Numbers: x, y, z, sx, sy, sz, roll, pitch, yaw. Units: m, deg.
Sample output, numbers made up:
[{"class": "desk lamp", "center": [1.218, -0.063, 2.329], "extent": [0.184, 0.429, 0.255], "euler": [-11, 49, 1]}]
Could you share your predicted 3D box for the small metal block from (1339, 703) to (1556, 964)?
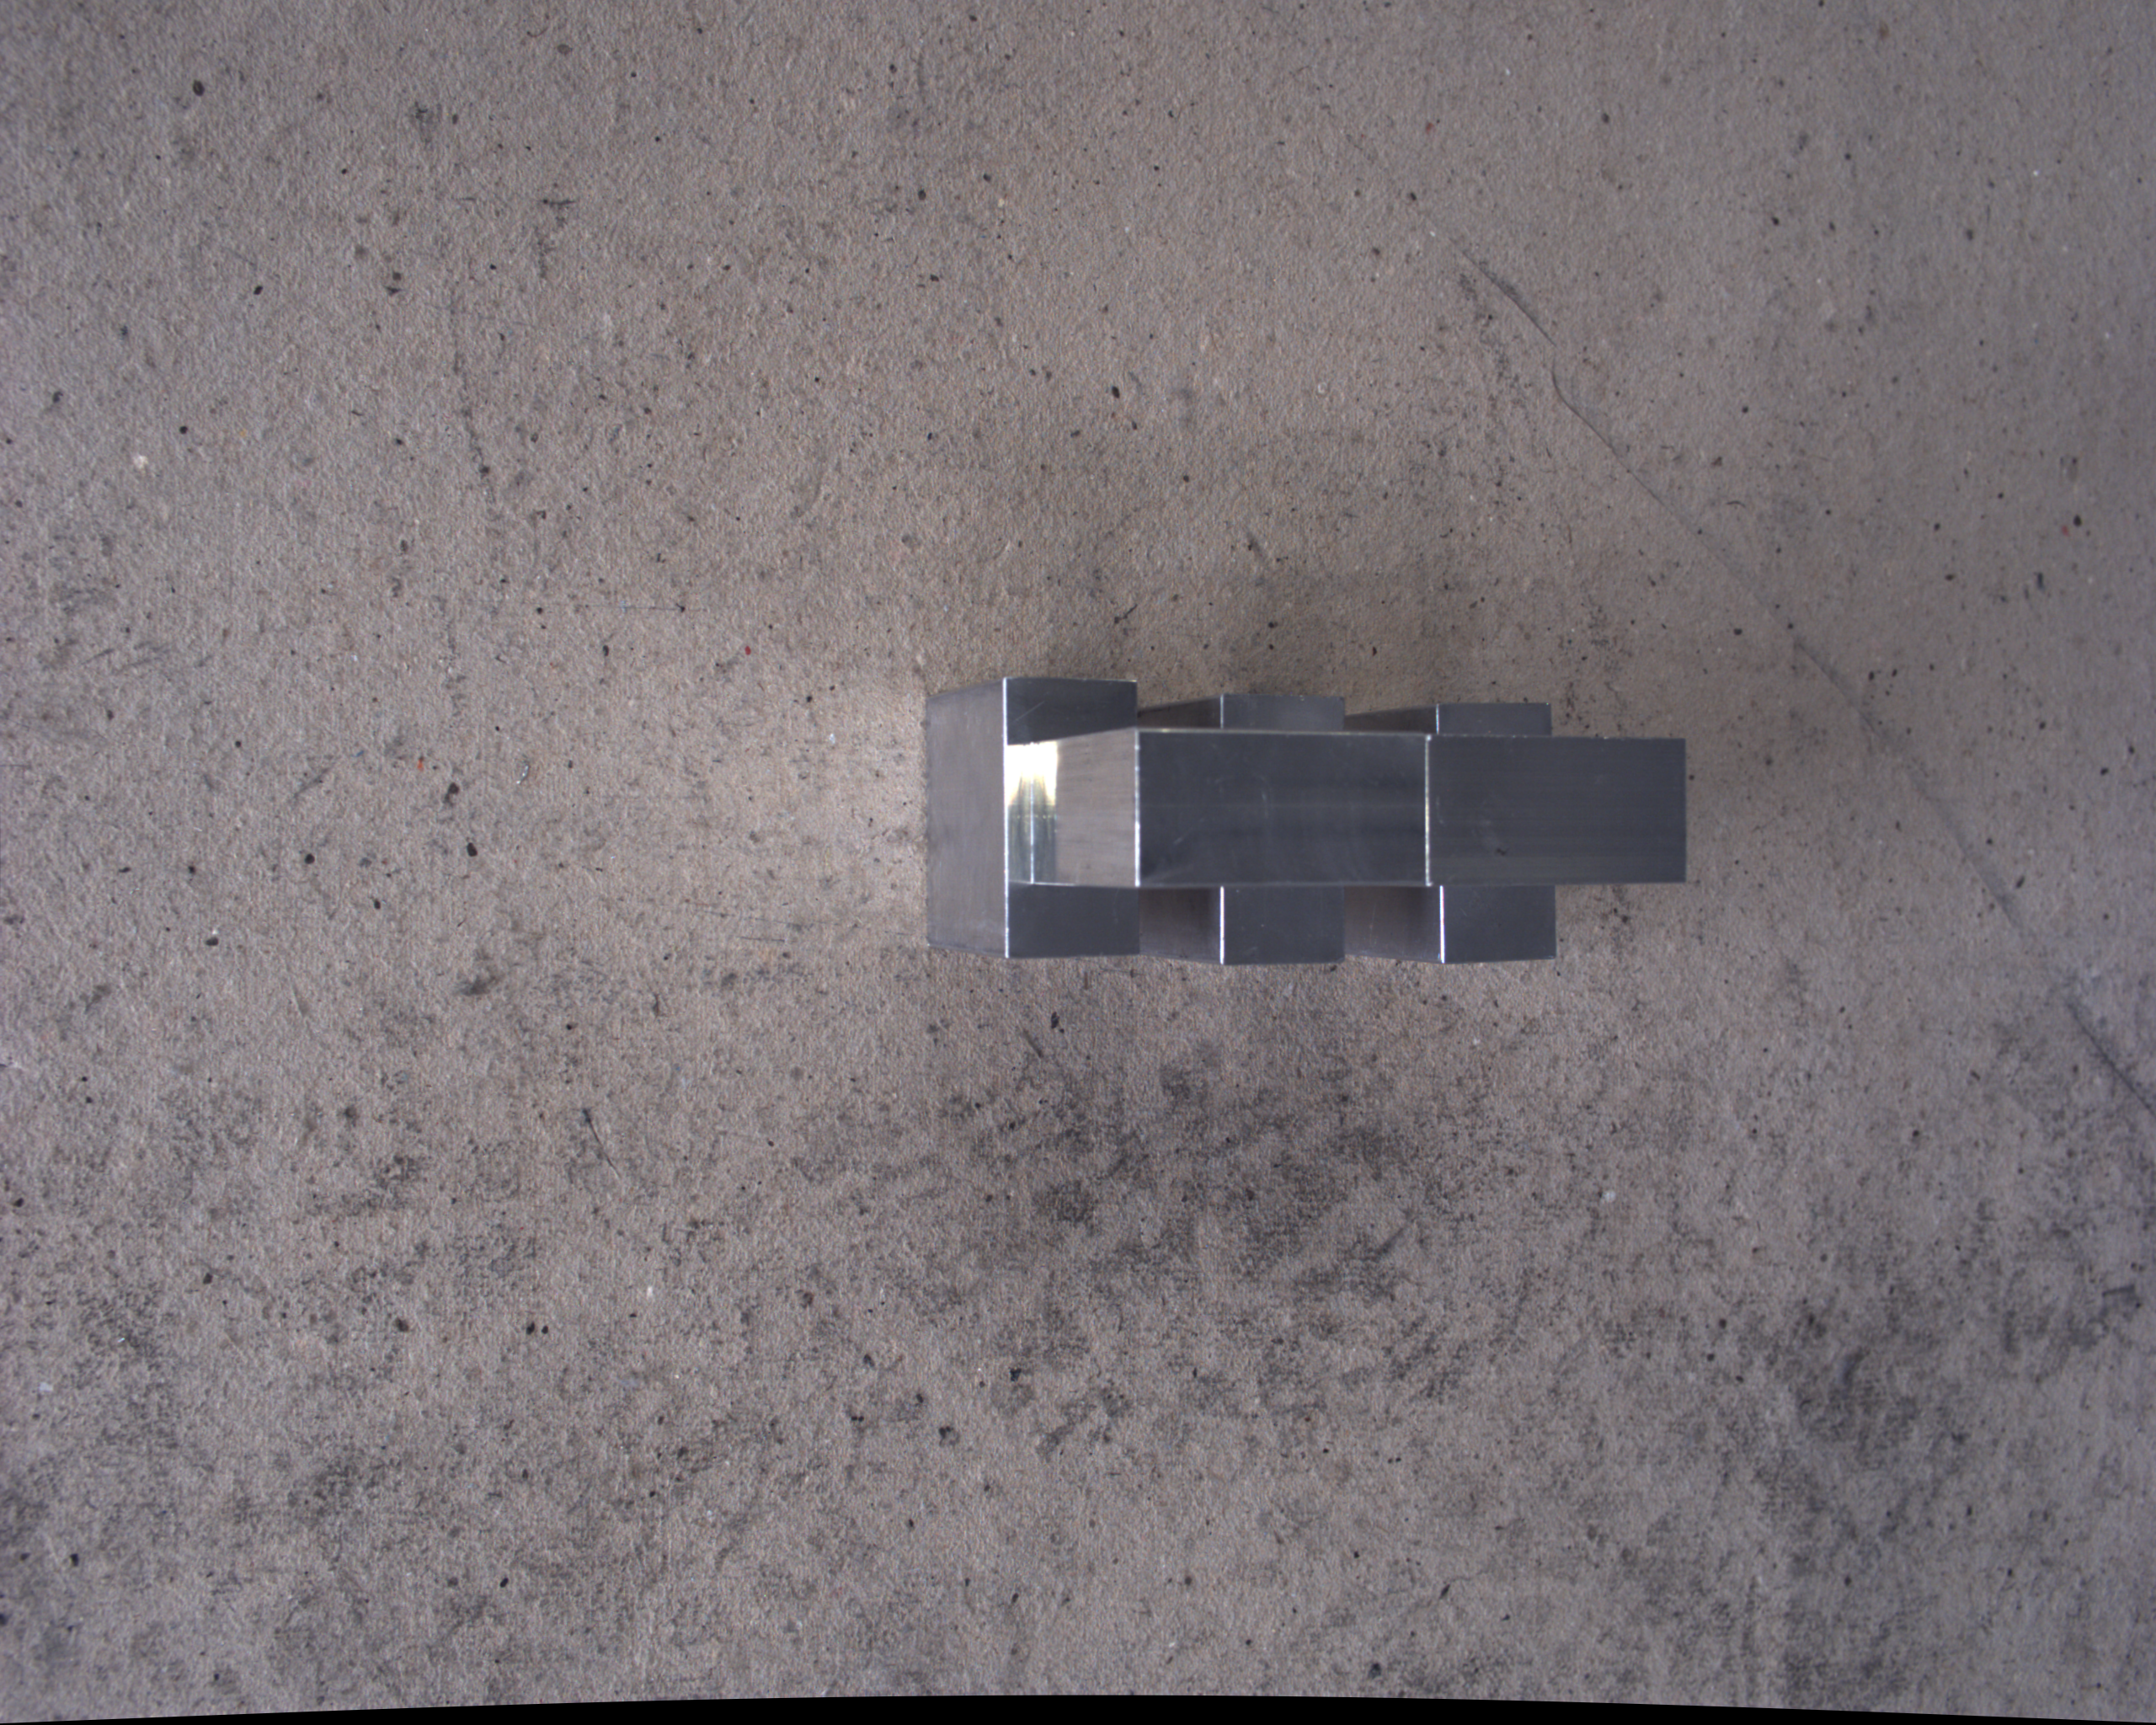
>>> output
[{"class": "small metal block", "center": [0.072, -0.006, 0.424], "extent": [0.025, 0.050, 0.050], "euler": [-1, 90, -19]}]

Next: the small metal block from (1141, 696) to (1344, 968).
[{"class": "small metal block", "center": [0.029, -0.006, 0.408], "extent": [0.025, 0.050, 0.050], "euler": [-1, 90, -19]}]

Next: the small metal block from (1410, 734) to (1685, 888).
[{"class": "small metal block", "center": [0.071, -0.009, 0.370], "extent": [0.050, 0.050, 0.025], "euler": [0, 90, -20]}]

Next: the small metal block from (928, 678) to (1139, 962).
[{"class": "small metal block", "center": [-0.010, -0.008, 0.393], "extent": [0.025, 0.050, 0.050], "euler": [-1, 90, -19]}]

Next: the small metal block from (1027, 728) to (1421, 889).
[{"class": "small metal block", "center": [0.023, -0.009, 0.353], "extent": [0.050, 0.050, 0.025], "euler": [0, 90, -20]}]
